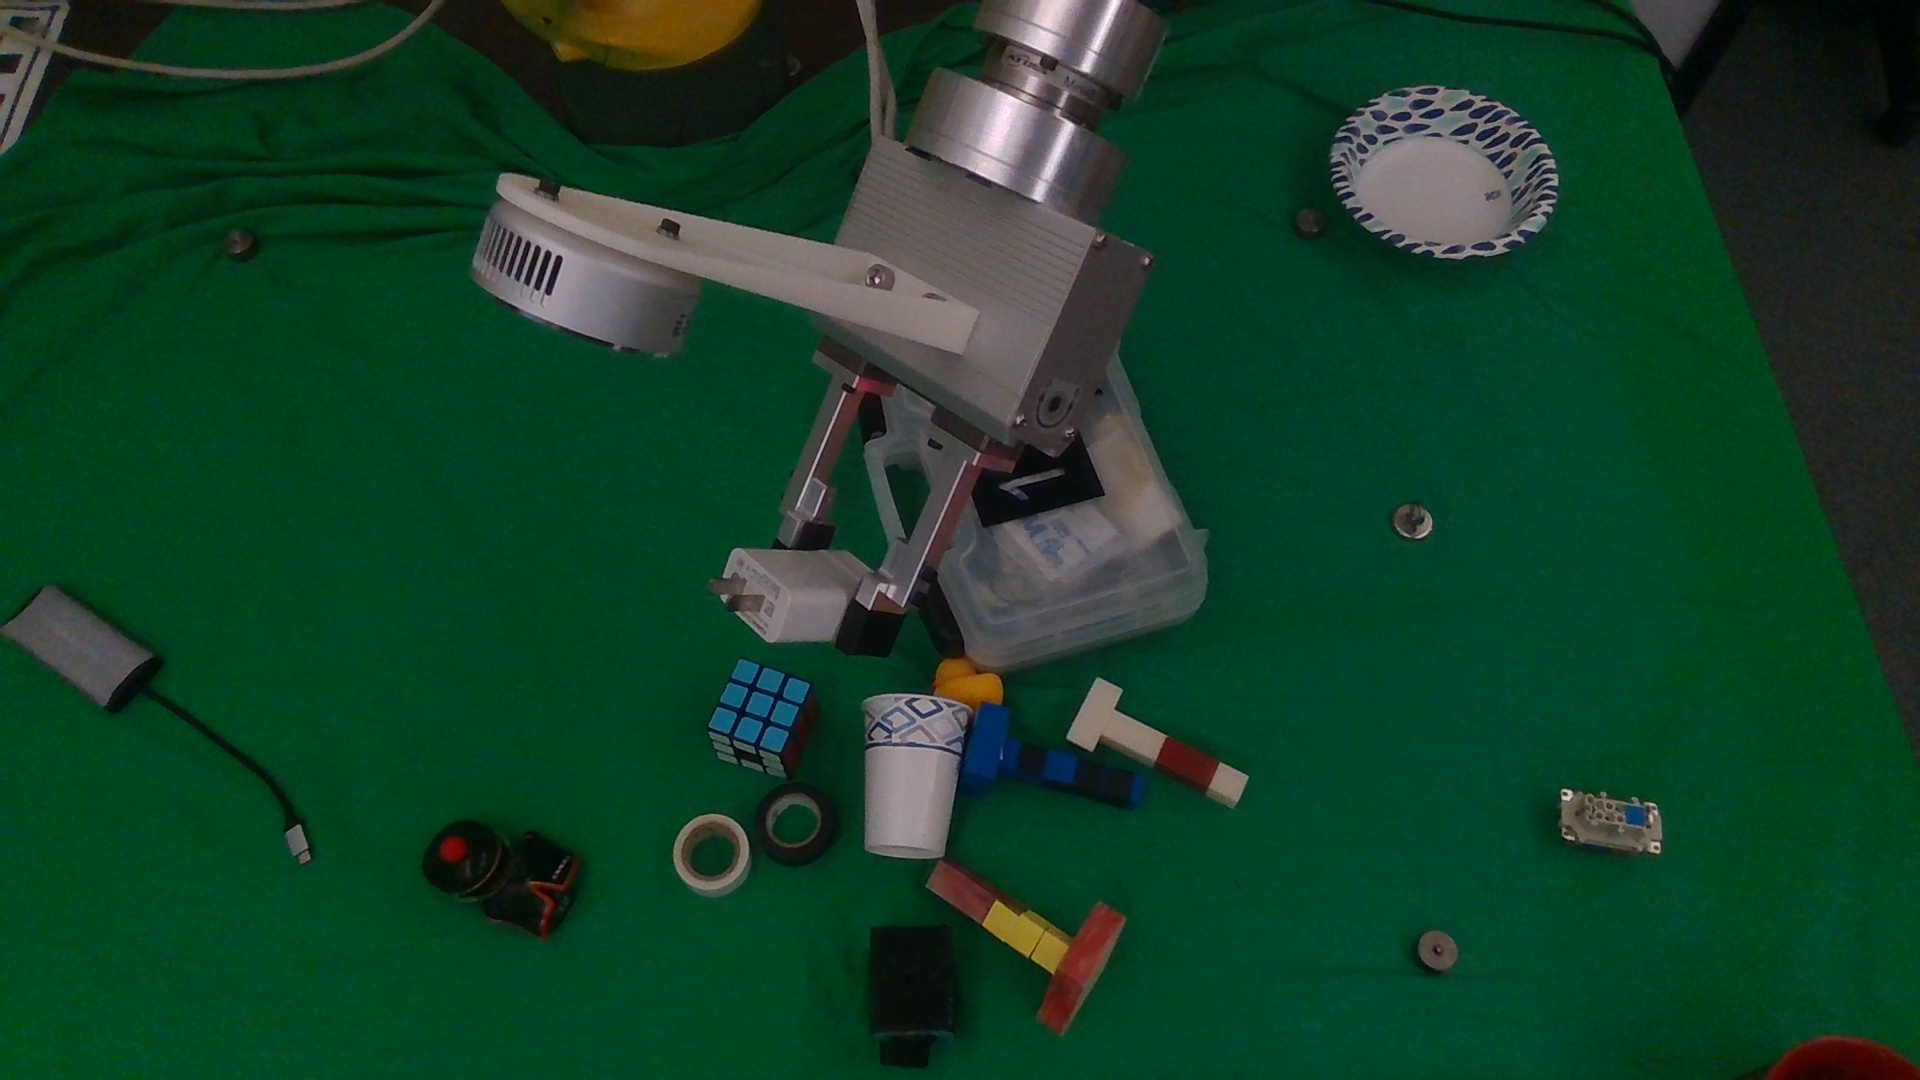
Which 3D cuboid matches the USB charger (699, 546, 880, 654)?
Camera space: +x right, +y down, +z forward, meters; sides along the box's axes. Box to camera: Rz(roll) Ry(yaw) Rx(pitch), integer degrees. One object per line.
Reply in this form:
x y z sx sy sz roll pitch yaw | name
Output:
-0.067 0.021 0.514 0.045 0.075 0.029 40 107 23 | USB charger

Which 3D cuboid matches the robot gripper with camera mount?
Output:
-0.074 -0.048 0.451 0.119 0.192 0.159 41 112 38 | robot gripper with camera mount
